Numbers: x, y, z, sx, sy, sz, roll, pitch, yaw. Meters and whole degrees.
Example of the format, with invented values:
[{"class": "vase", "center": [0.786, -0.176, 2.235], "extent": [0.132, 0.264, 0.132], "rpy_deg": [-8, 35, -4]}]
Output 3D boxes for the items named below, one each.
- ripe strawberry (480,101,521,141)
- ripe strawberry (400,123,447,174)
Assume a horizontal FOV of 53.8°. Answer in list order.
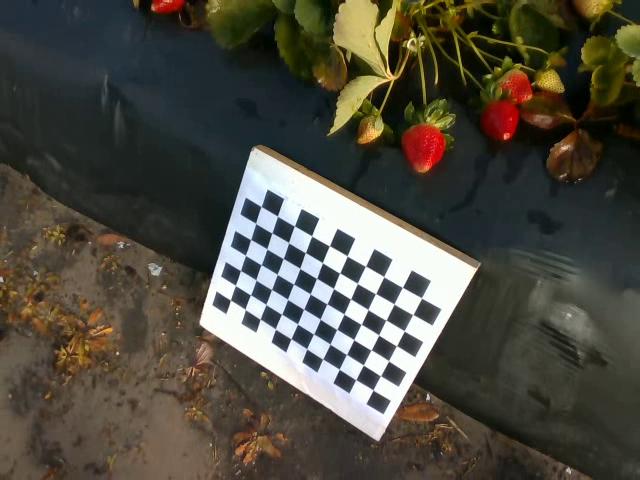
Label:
[{"class": "ripe strawberry", "center": [0.191, -0.123, 0.668], "extent": [0.041, 0.055, 0.044], "rpy_deg": [30, -51, -31]}, {"class": "ripe strawberry", "center": [0.109, -0.097, 0.672], "extent": [0.050, 0.065, 0.050], "rpy_deg": [-10, -42, 31]}]
